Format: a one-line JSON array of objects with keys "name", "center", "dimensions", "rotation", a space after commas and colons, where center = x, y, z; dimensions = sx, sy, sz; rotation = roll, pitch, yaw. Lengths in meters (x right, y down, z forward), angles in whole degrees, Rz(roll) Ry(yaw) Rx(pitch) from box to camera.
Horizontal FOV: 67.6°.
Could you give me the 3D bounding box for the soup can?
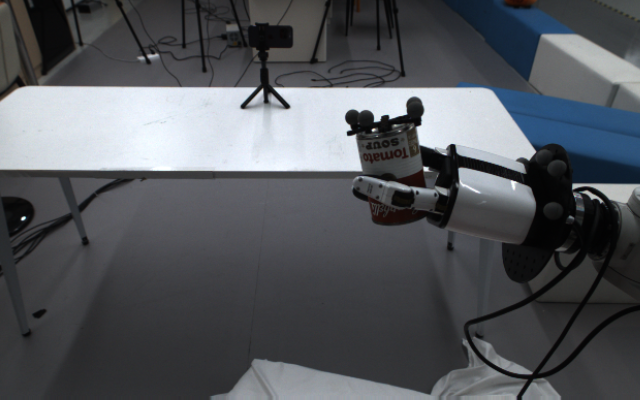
[{"name": "soup can", "center": [0.083, -0.031, 0.540], "dimensions": [0.067, 0.101, 0.067], "rotation": [-12, 17, 4]}]
